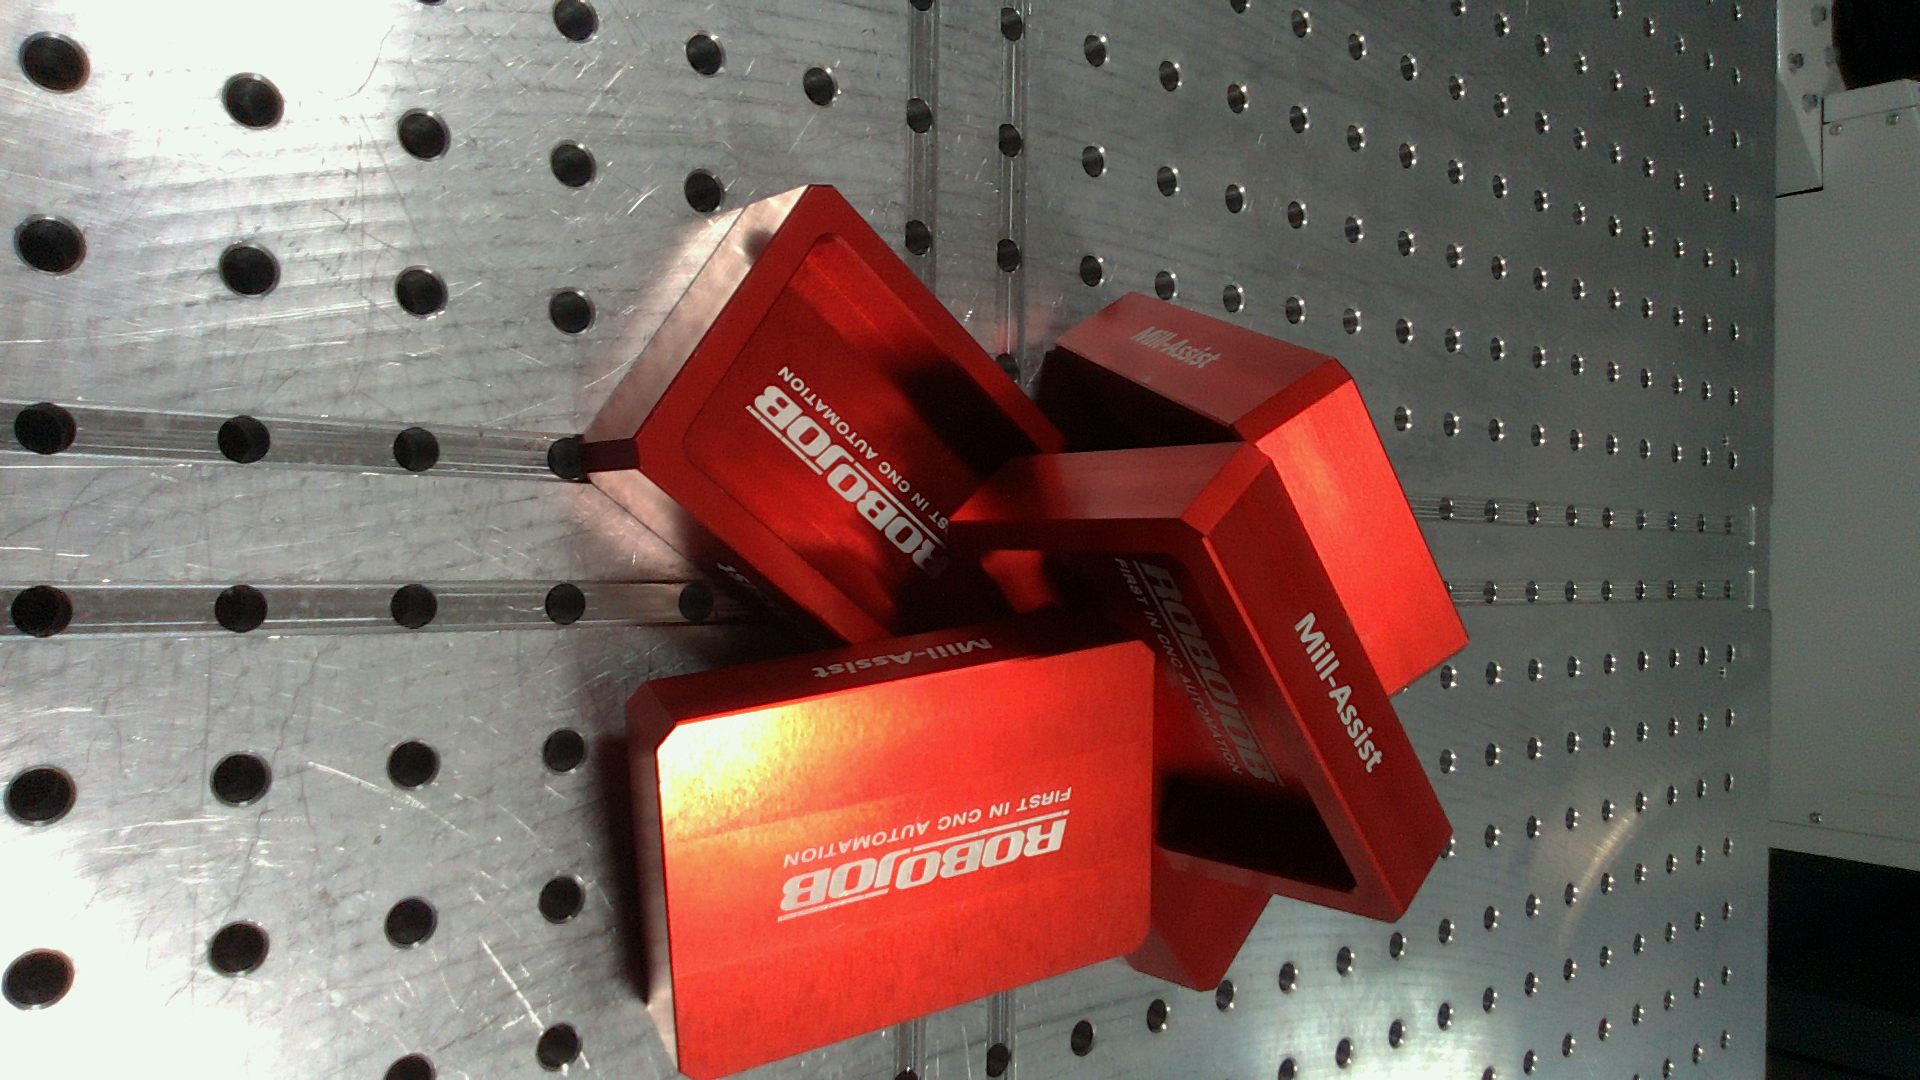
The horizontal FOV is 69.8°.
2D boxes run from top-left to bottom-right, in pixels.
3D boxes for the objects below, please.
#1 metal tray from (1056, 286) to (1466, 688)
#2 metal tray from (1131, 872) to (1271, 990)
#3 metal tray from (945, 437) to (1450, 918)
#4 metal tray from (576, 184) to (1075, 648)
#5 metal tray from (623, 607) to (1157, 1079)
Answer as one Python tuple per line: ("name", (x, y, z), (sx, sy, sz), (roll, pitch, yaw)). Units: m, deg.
("metal tray", (0.080, -0.018, 0.391), (0.030, 0.130, 0.090), (-33, 114, -4))
("metal tray", (0.085, 0.068, 0.458), (0.130, 0.030, 0.090), (-49, 119, -29))
("metal tray", (0.062, 0.036, 0.362), (0.030, 0.090, 0.130), (-46, 117, -30))
("metal tray", (-0.025, -0.017, 0.368), (0.130, 0.030, 0.090), (43, 64, -31))
("metal tray", (-0.013, 0.072, 0.347), (0.130, 0.030, 0.090), (-8, 106, -25))
